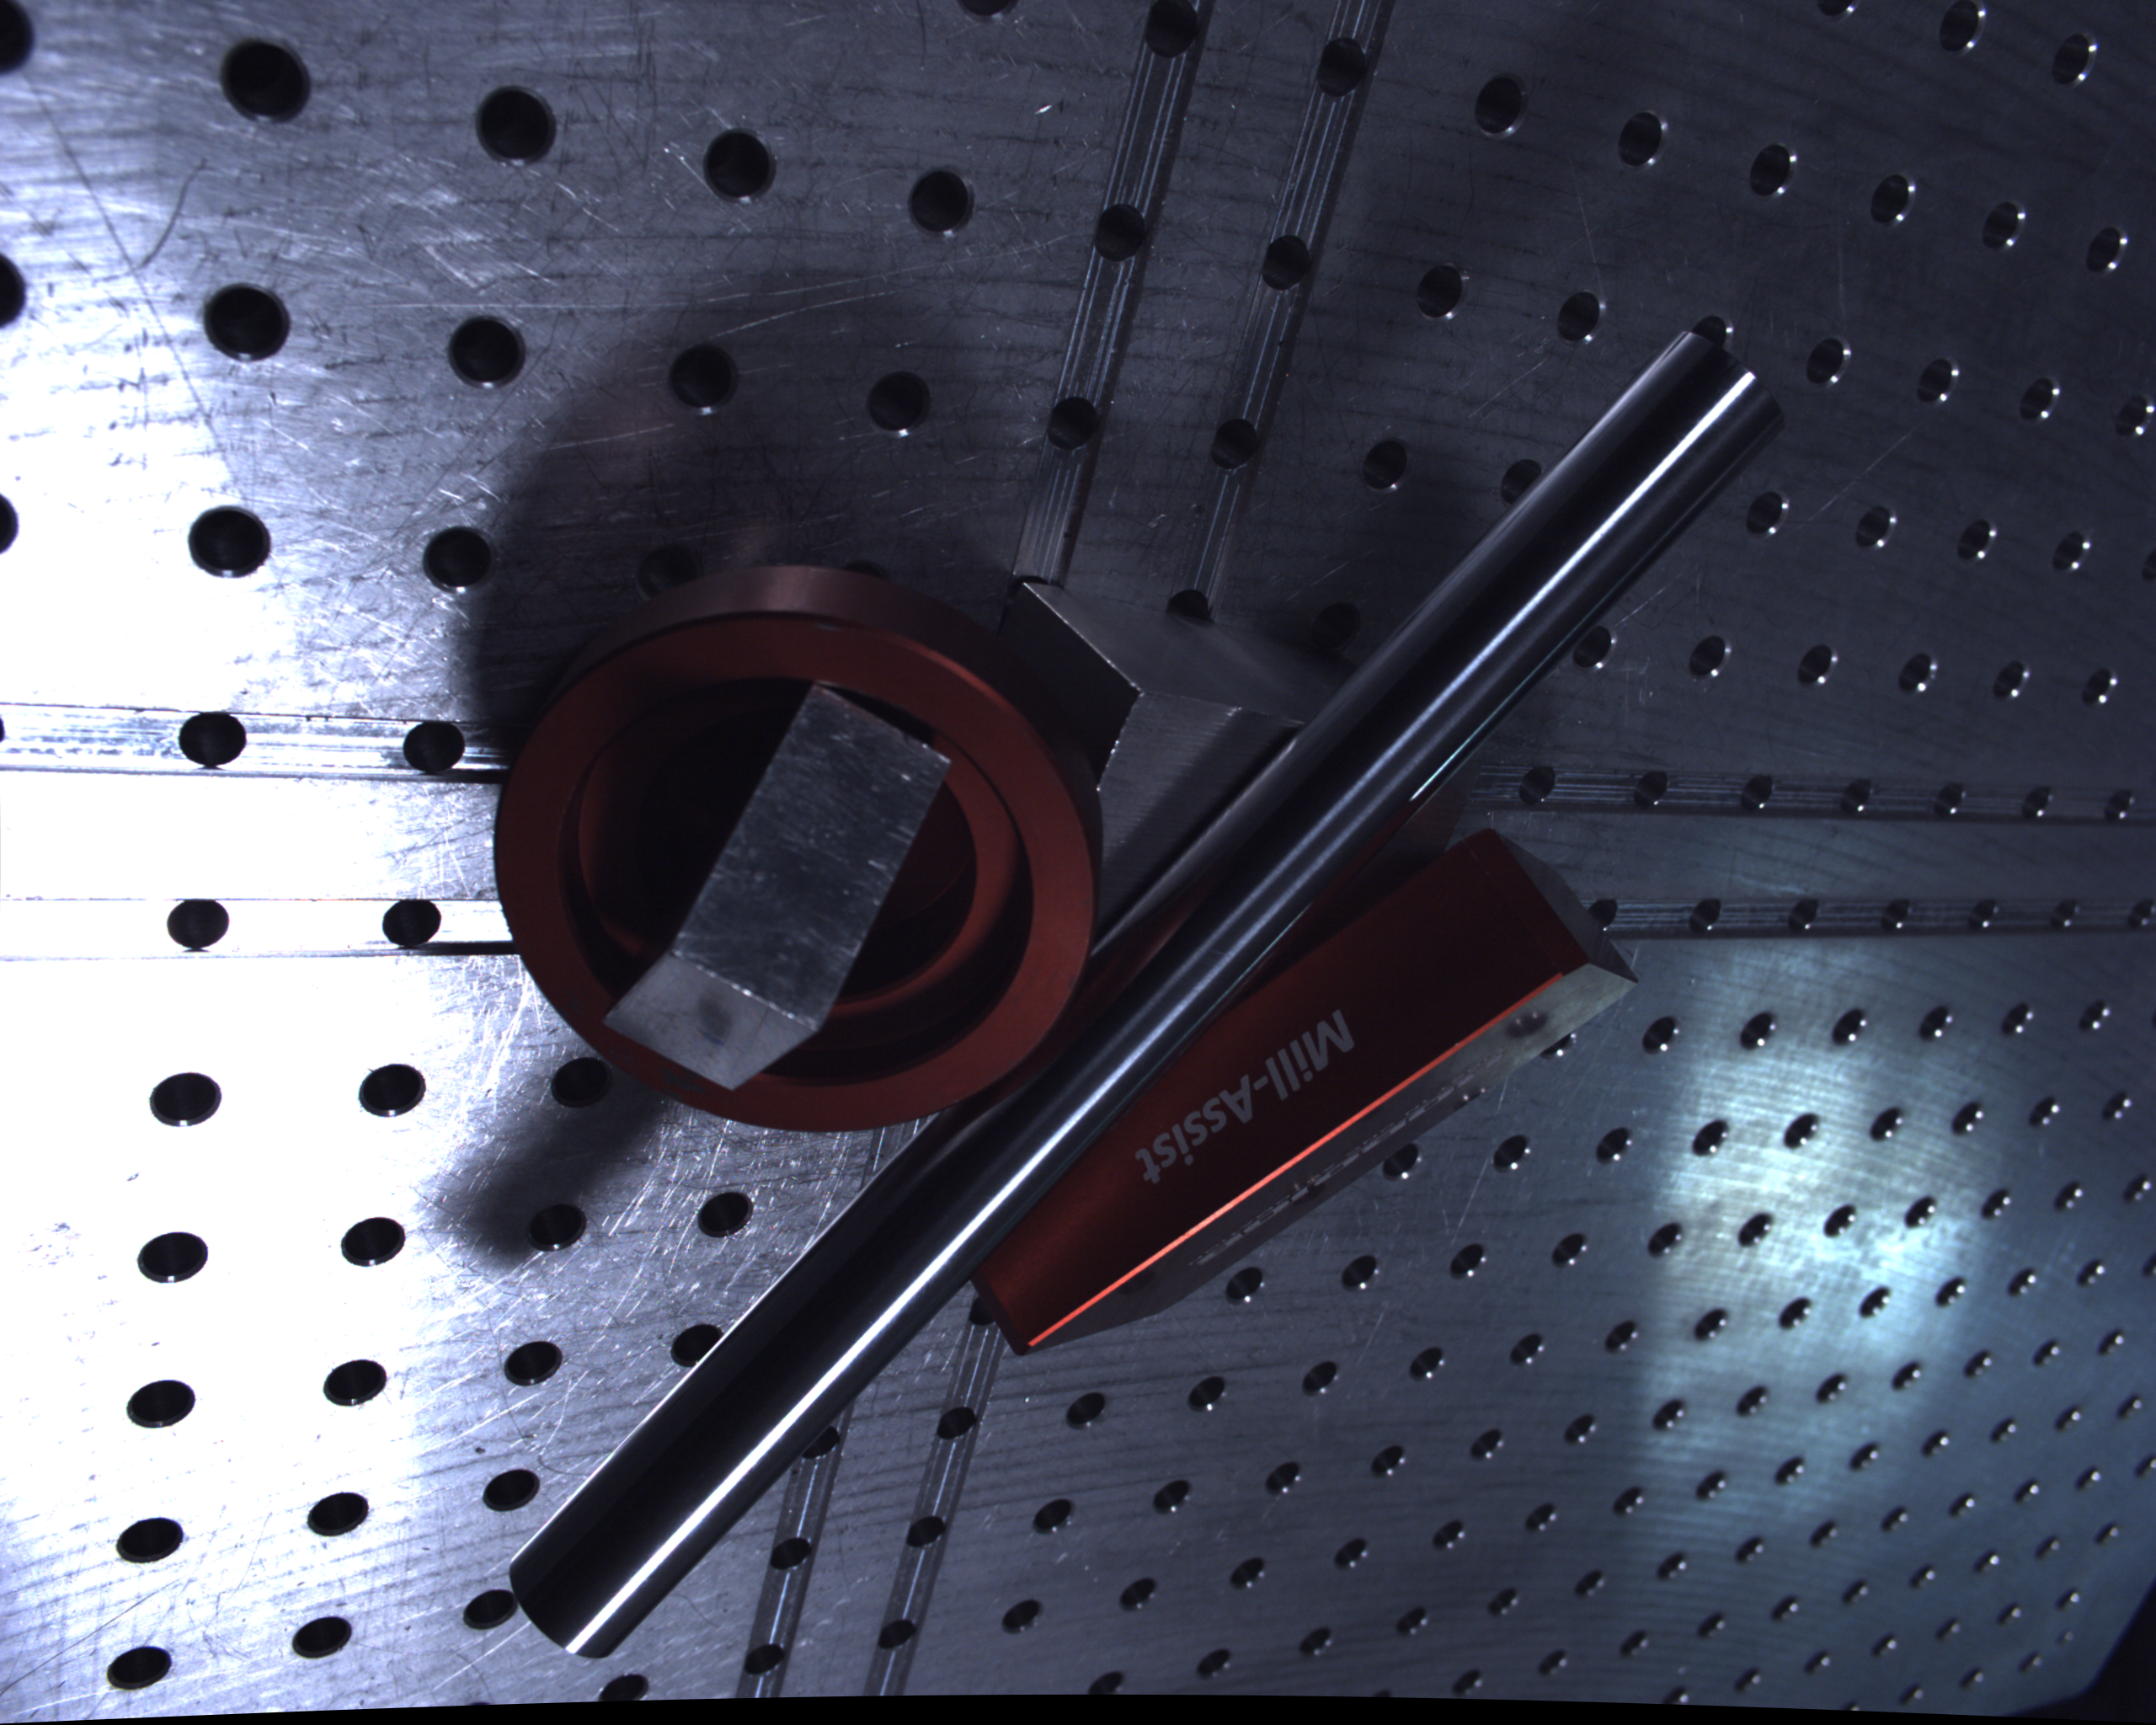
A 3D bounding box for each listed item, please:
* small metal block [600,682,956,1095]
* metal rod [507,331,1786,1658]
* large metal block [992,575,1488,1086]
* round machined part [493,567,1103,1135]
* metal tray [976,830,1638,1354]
[{"bbox_3d":[-0.049,0.006,0.337,0.025,0.050,0.050,31,63,-13],"label":"small metal block"},{"bbox_3d":[0.009,0.026,0.369,0.300,0.025,0.025,-47,130,4],"label":"metal rod"},{"bbox_3d":[0.019,-0.002,0.405,0.081,0.050,0.079,9,114,-33],"label":"large metal block"},{"bbox_3d":[-0.045,-0.005,0.357,0.099,0.042,0.097,0,118,0],"label":"round machined part"},{"bbox_3d":[0.046,0.047,0.421,0.130,0.030,0.090,-37,163,13],"label":"metal tray"}]
